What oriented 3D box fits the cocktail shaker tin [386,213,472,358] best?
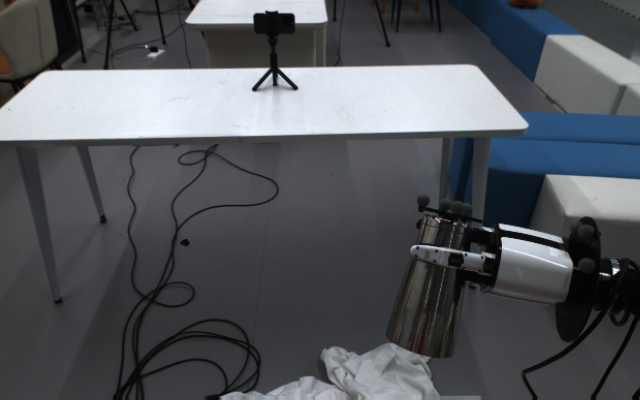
[{"bbox_3d":[0.154,0.106,0.647,0.093,0.170,0.093,12,3,-1],"label":"cocktail shaker tin"}]
